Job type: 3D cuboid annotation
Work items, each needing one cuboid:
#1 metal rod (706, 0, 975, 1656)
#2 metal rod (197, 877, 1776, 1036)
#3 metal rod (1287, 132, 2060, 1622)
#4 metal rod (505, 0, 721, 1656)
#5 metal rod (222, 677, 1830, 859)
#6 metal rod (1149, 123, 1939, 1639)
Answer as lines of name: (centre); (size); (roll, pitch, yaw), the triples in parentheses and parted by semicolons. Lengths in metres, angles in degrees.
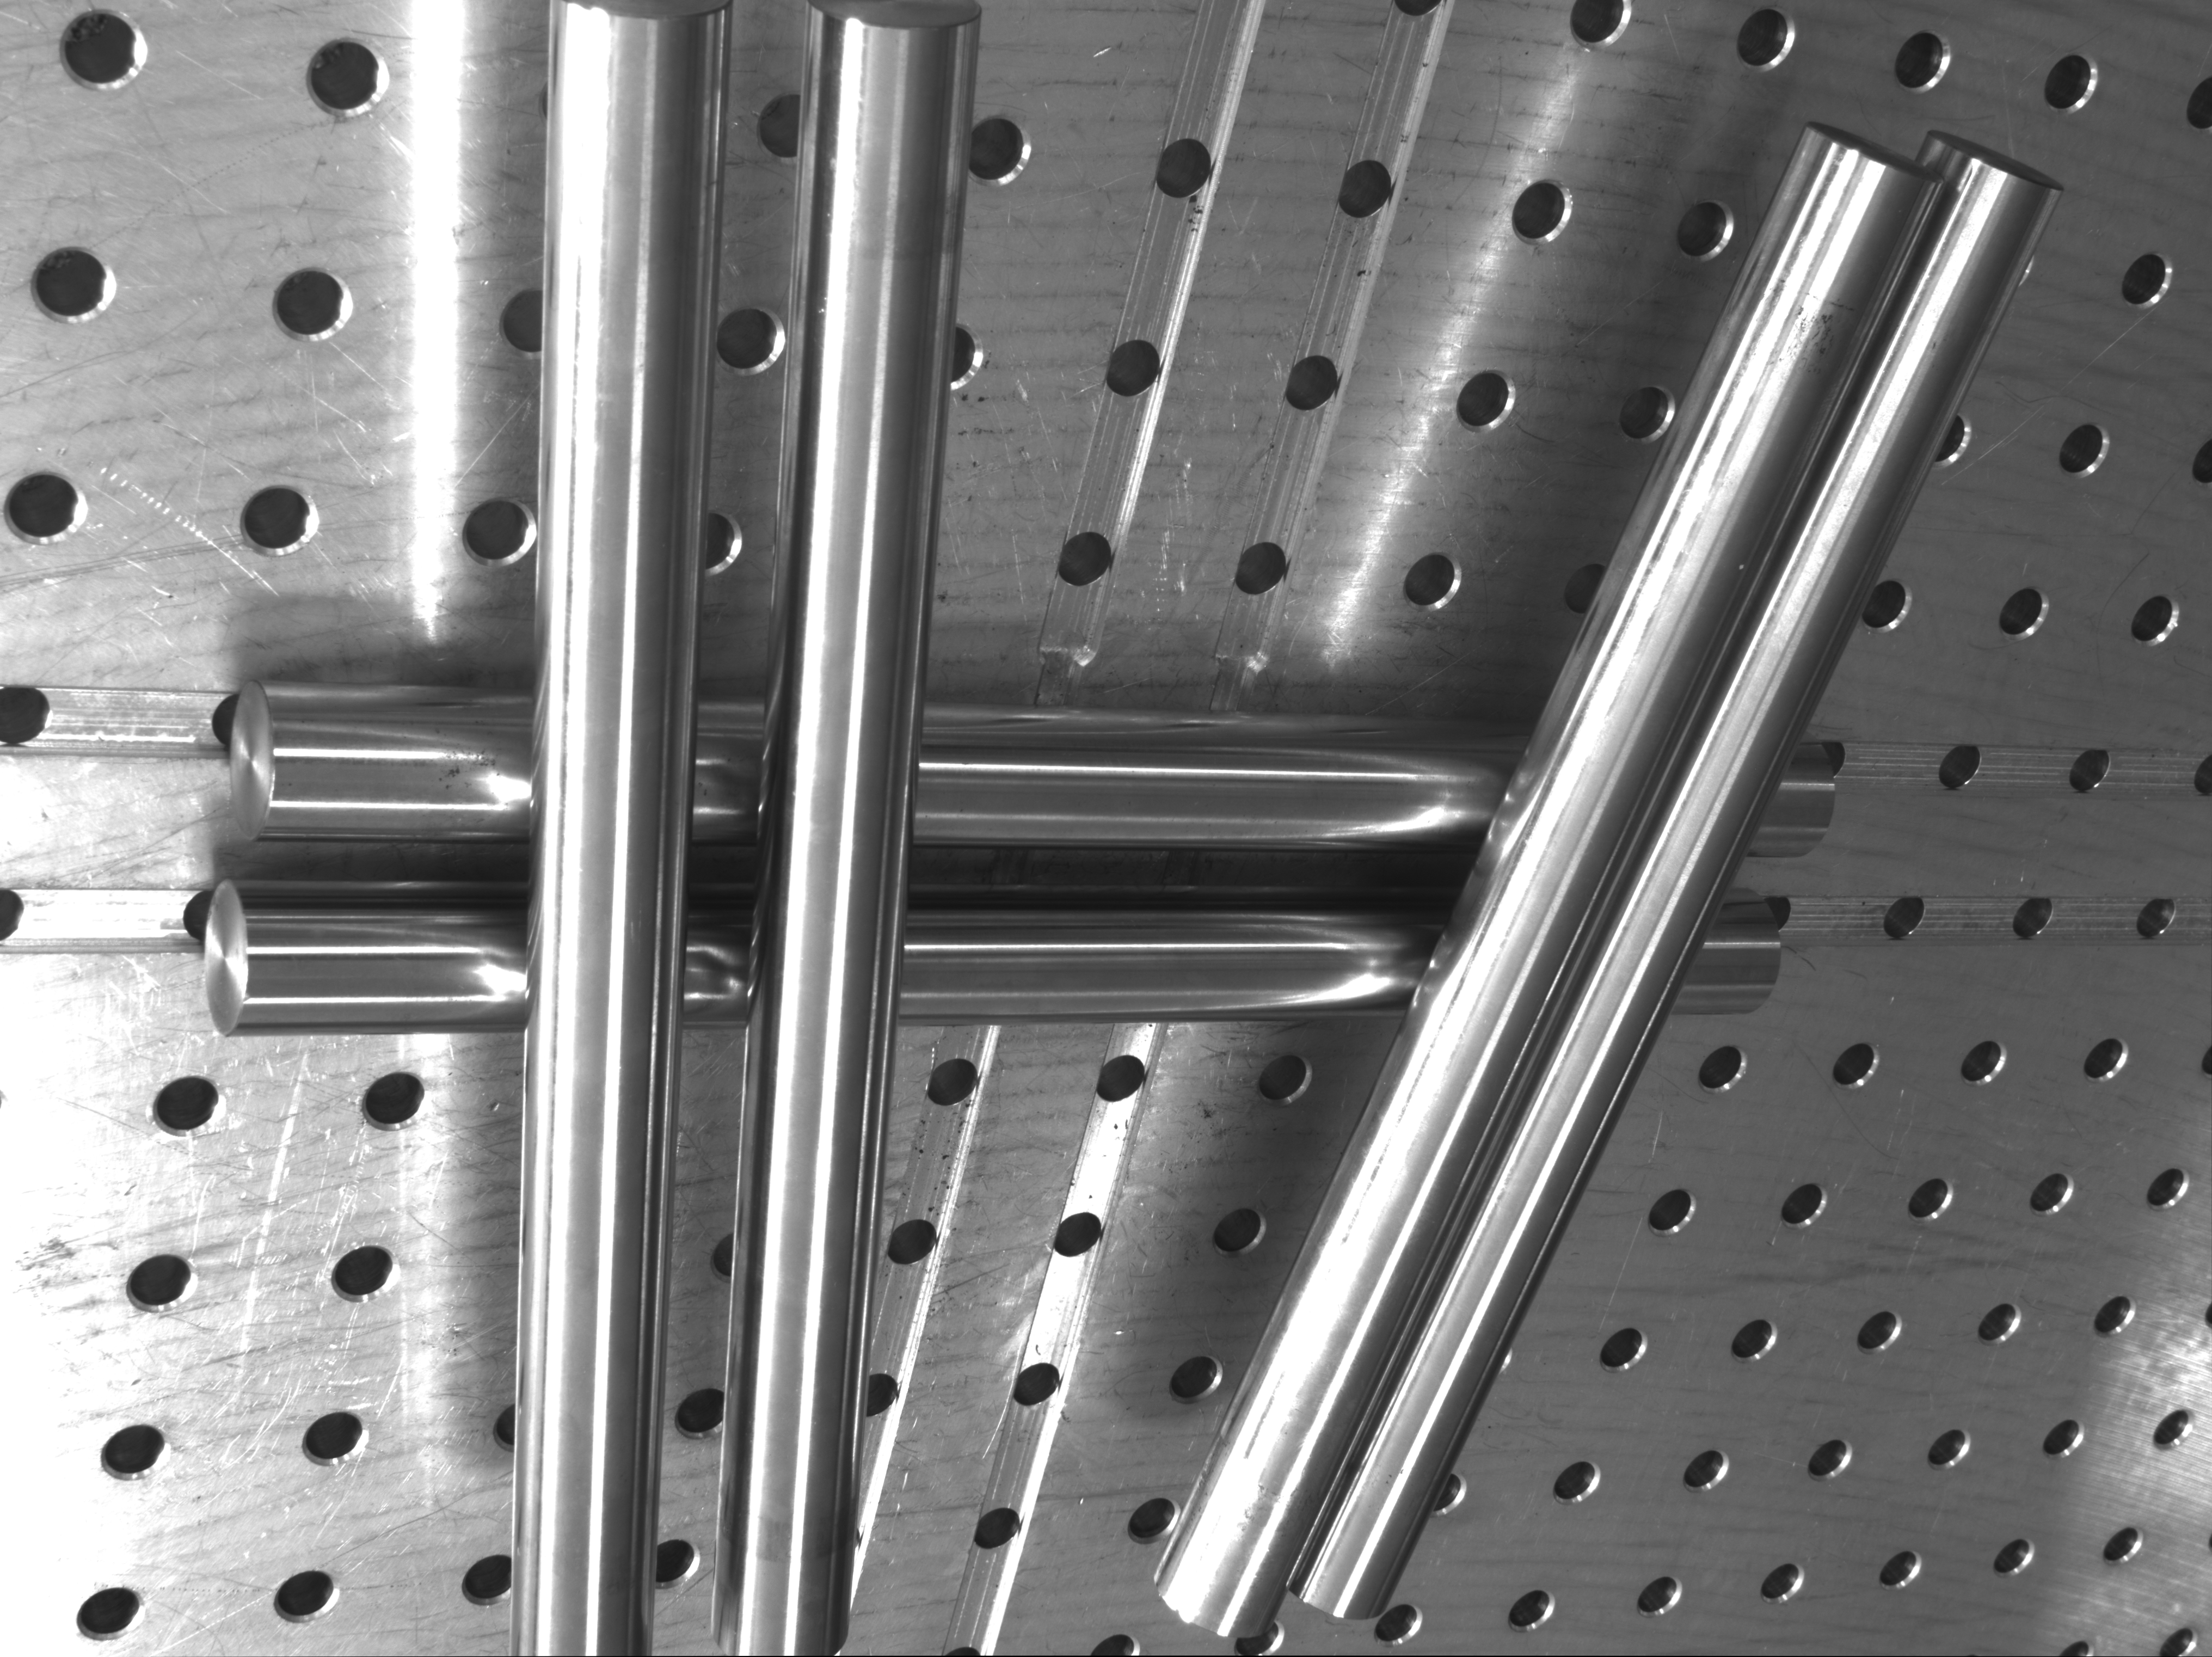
metal rod: (-0.046, 0.013, 0.593); (0.025, 0.025, 0.300); (-8, 122, -24)
metal rod: (-0.008, 0.022, 0.651); (0.301, 0.025, 0.025); (1, 118, -29)
metal rod: (0.096, 0.018, 0.672); (0.025, 0.025, 0.300); (9, 113, -32)
metal rod: (-0.079, 0.016, 0.576); (0.025, 0.025, 0.300); (-8, 122, -24)
metal rod: (0.000, -0.009, 0.636); (0.301, 0.025, 0.025); (1, 118, -29)
metal rod: (0.073, 0.018, 0.660); (0.025, 0.025, 0.300); (9, 113, -32)
